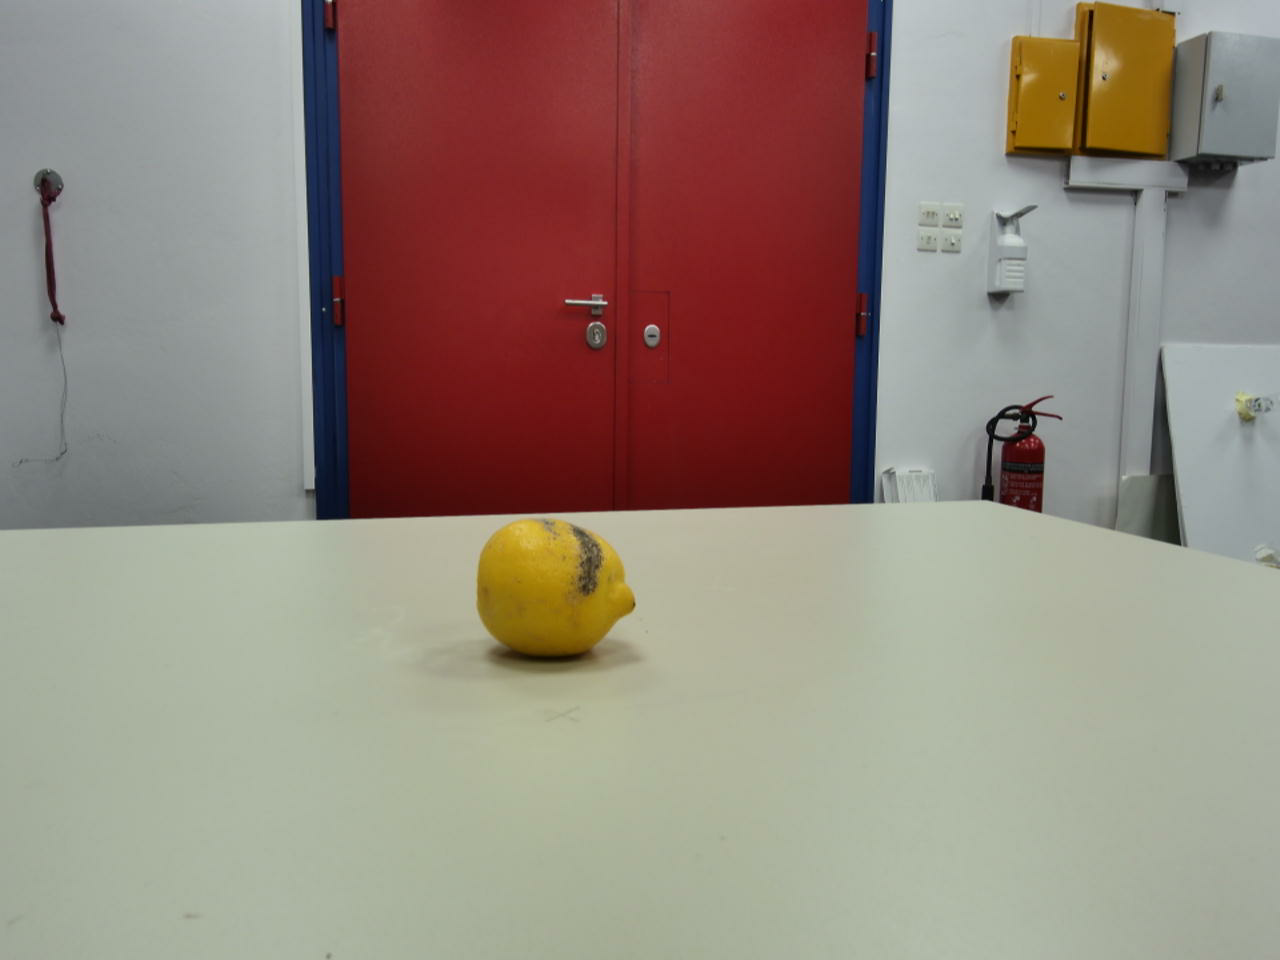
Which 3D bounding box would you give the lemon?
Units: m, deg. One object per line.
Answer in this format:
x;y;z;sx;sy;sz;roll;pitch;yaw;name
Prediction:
-0.037;0.044;0.414;0.061;0.056;0.058;-1;5;-21;lemon
